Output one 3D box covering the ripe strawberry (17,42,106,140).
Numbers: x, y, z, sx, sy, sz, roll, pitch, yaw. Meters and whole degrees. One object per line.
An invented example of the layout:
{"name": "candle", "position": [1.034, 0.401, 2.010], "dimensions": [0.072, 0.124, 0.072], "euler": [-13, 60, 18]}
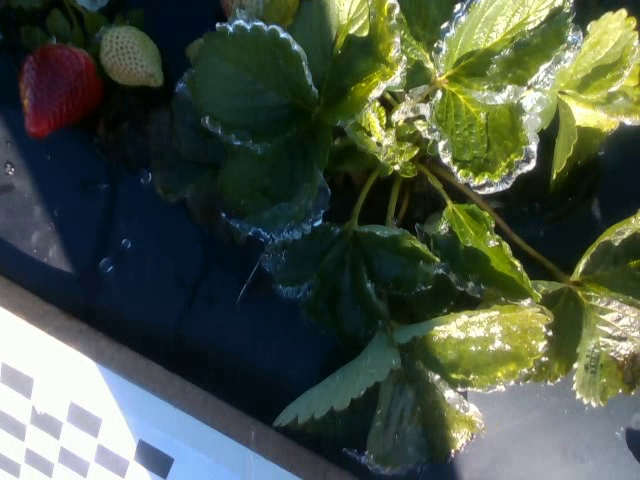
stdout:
{"name": "ripe strawberry", "position": [-0.120, -0.064, 0.270], "dimensions": [0.040, 0.053, 0.042], "euler": [-5, -36, 19]}
